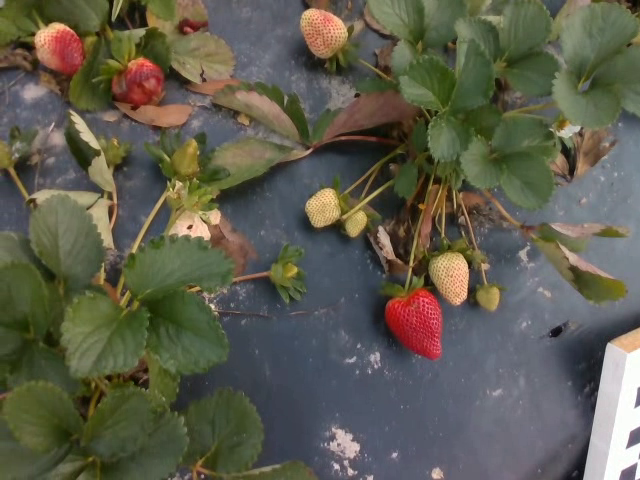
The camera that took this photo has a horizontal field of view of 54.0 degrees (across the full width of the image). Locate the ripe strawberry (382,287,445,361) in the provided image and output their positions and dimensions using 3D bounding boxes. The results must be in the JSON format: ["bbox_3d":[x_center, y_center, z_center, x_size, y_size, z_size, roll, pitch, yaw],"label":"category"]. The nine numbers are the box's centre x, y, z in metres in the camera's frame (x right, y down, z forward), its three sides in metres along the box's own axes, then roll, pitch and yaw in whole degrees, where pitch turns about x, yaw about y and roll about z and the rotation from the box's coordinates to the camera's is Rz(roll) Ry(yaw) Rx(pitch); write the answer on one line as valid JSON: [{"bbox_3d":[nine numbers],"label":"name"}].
[{"bbox_3d":[0.074,0.062,0.468,0.050,0.059,0.034,-24,-19,-16],"label":"ripe strawberry"}]
